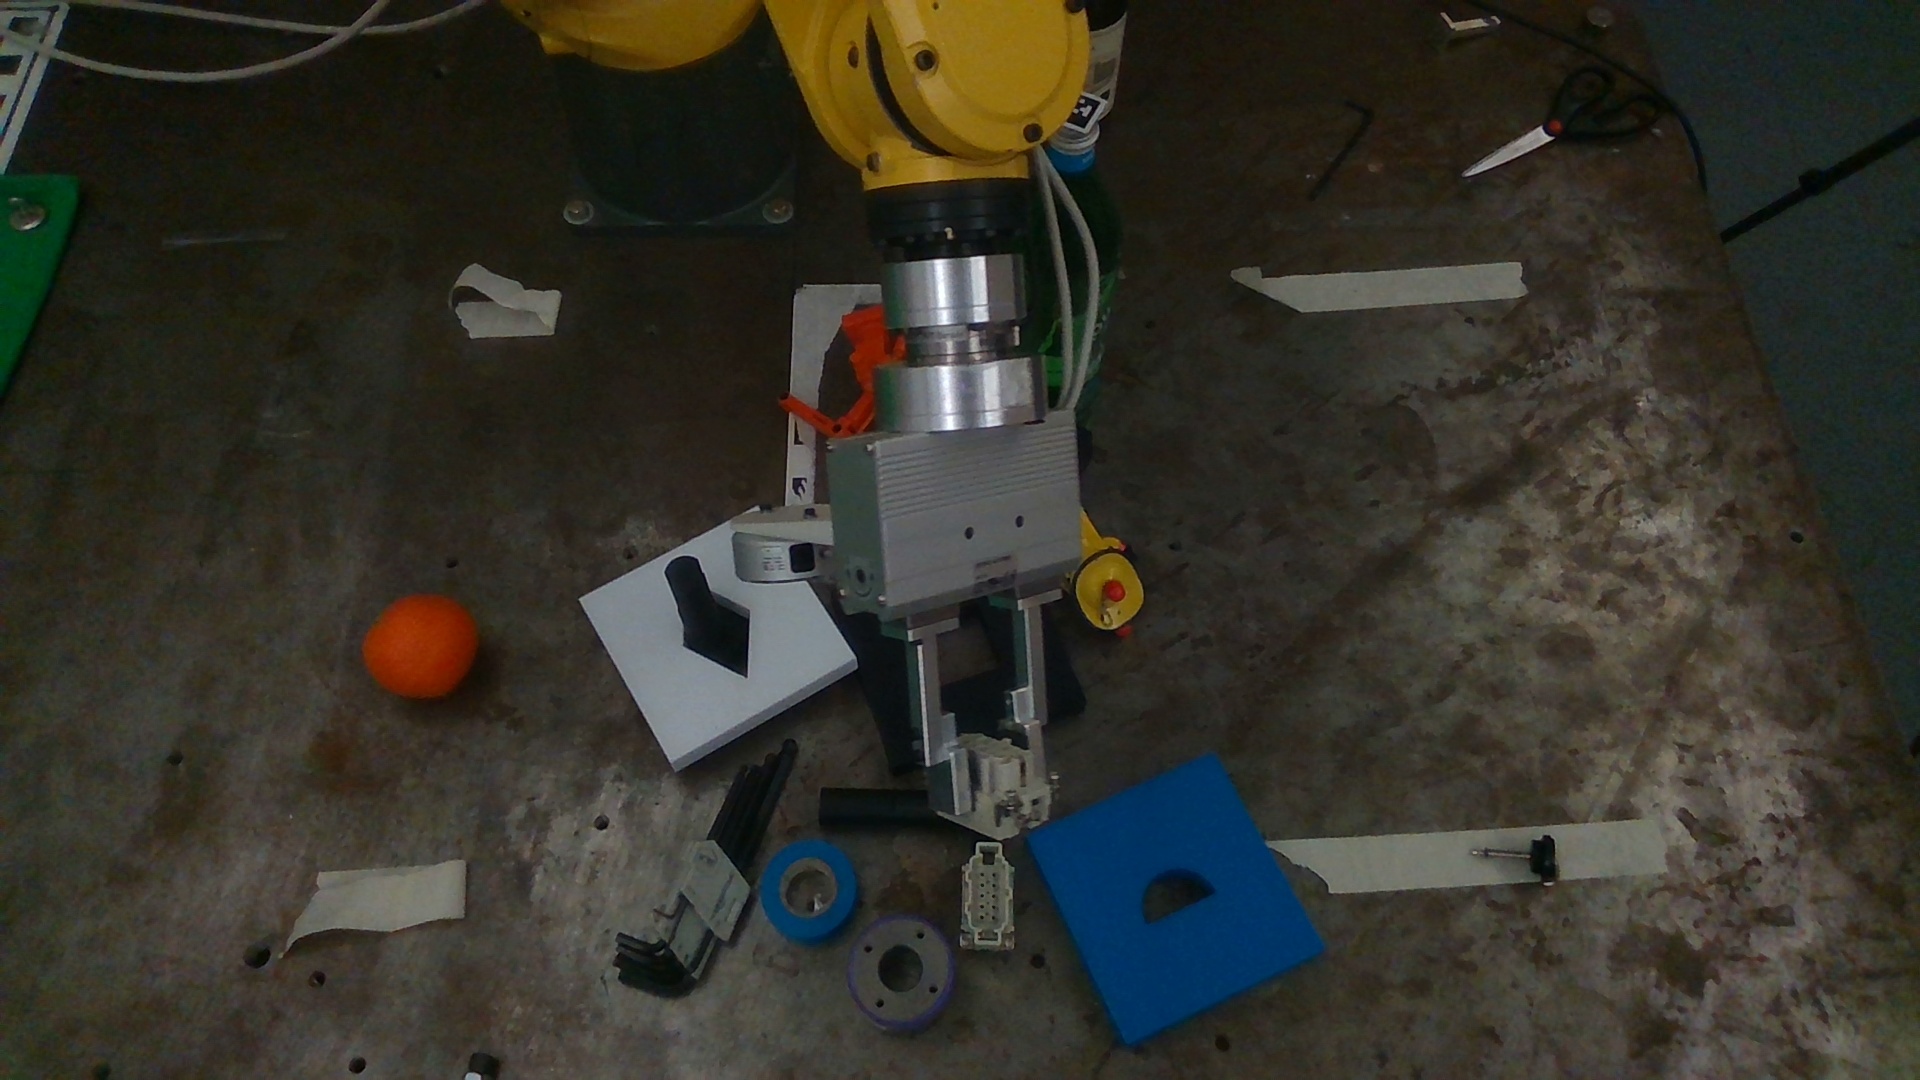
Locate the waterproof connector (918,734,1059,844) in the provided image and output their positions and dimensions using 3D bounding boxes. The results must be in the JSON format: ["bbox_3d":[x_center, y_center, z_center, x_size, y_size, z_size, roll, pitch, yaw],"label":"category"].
[{"bbox_3d":[0.014,0.116,0.663,0.036,0.038,0.069,-21,19,-37],"label":"waterproof connector"}]
